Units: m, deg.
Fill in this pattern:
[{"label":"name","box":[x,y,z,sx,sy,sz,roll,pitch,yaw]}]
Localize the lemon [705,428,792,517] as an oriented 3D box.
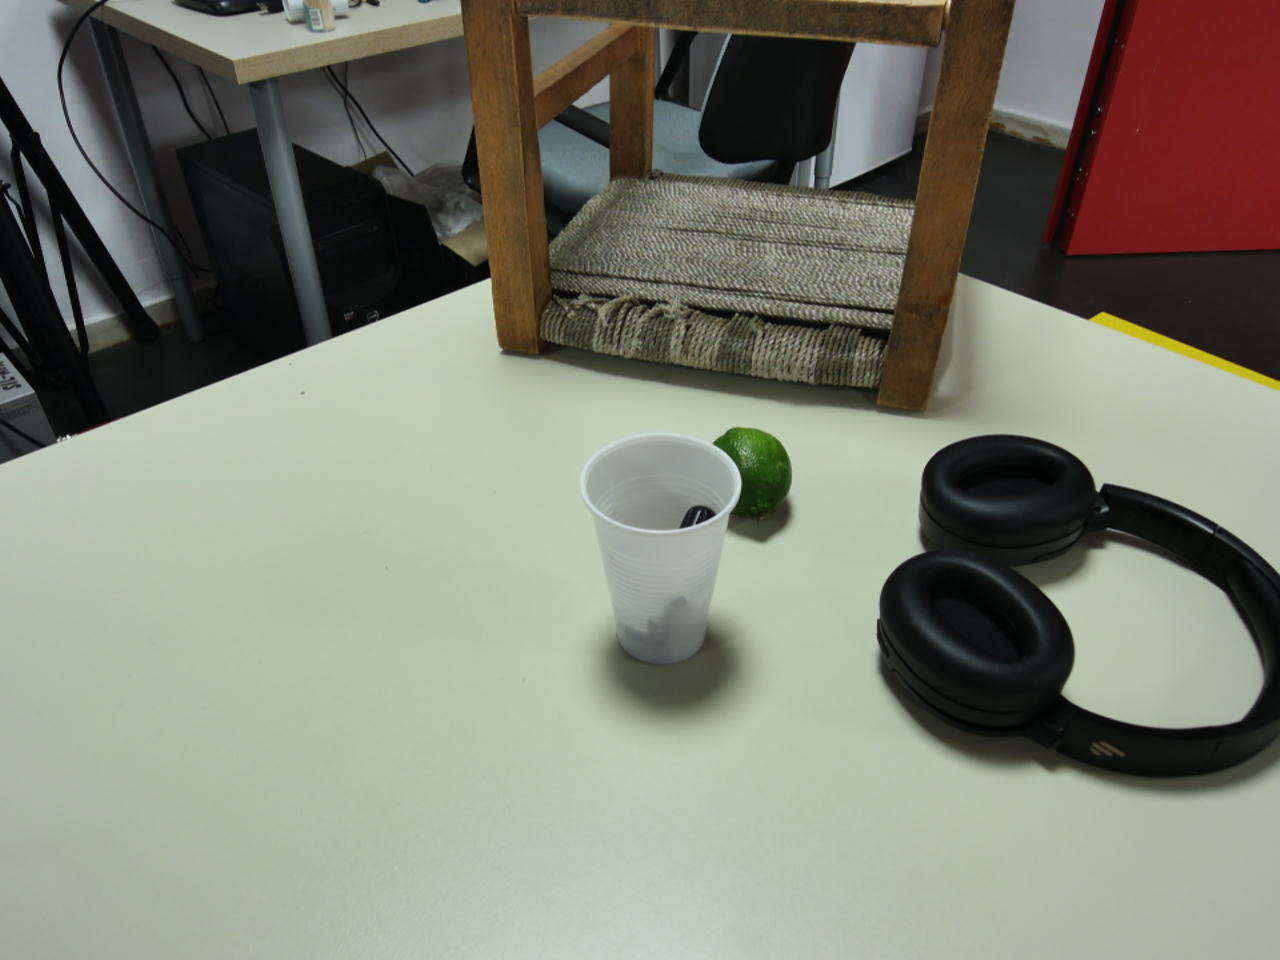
[{"label":"lemon","box":[0.067,-0.006,0.618,0.054,0.051,0.057,-30,47,-34]}]
